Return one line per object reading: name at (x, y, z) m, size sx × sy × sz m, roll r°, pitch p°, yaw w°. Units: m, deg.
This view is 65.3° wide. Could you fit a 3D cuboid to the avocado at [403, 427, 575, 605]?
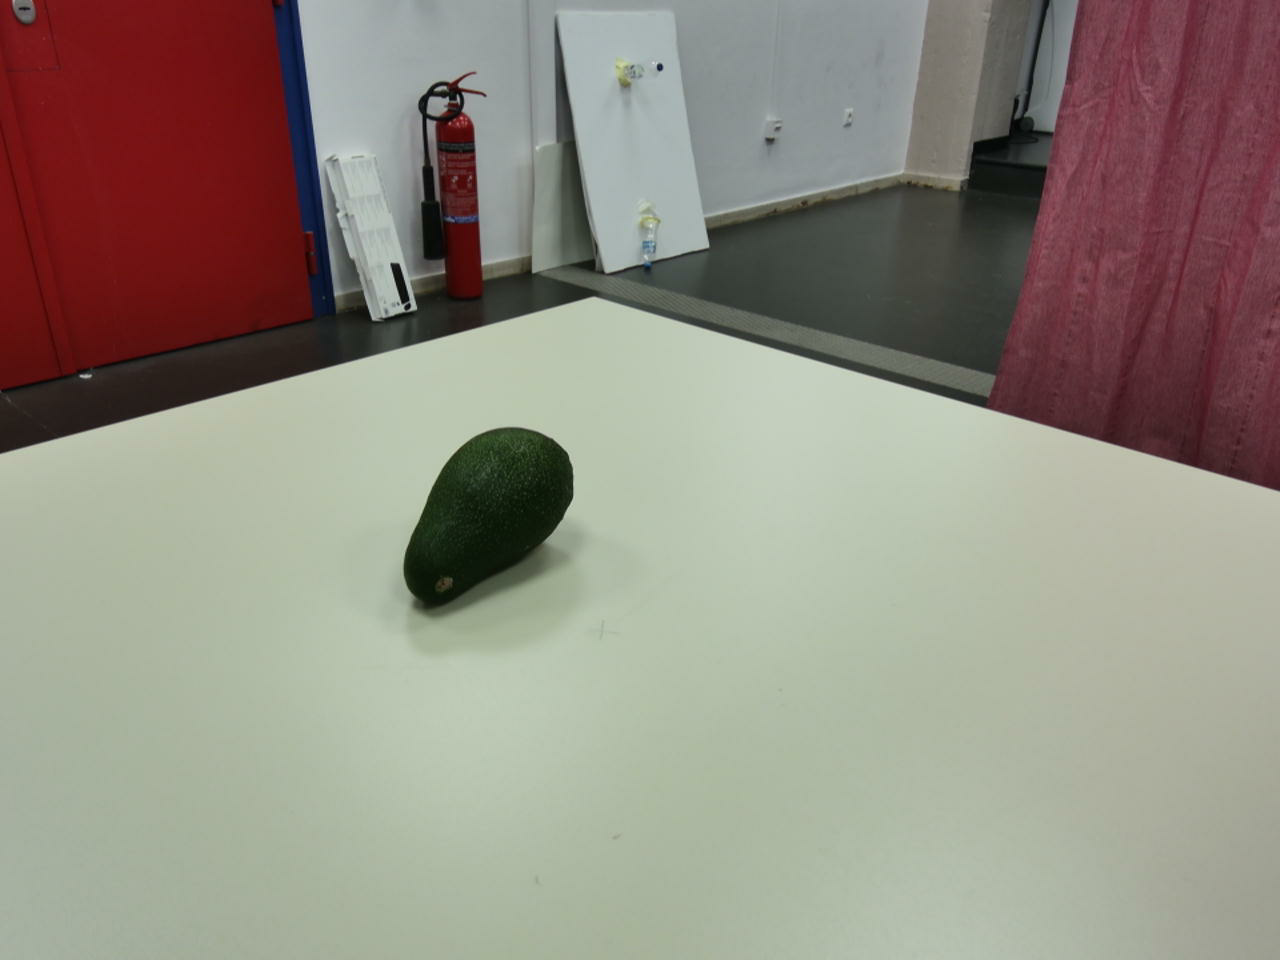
avocado at (-0.091, 0.013, 0.570) m, size 0.123 × 0.076 × 0.074 m, roll -20°, pitch 32°, yaw -38°
